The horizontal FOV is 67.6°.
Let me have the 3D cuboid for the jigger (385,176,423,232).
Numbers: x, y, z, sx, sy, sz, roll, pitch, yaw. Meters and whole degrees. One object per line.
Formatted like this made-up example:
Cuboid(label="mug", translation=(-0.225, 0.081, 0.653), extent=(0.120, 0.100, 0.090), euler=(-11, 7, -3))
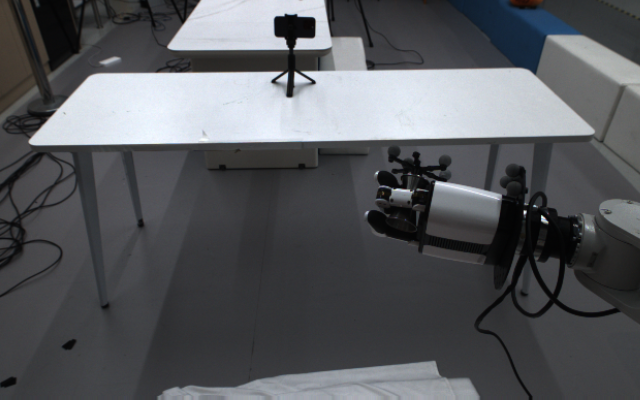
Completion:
Cuboid(label="jigger", translation=(0.121, 0.003, 0.648), extent=(0.043, 0.043, 0.071), euler=(13, 69, 15))
